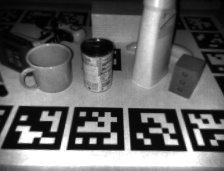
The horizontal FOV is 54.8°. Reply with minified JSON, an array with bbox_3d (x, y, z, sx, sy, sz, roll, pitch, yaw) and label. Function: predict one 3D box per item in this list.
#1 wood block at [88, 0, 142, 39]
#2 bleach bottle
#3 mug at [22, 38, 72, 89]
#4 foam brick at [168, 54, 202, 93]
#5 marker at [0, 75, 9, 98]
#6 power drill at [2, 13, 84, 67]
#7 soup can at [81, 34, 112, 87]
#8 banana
[{"bbox_3d":[0.035,-0.203,0.651,0.207,0.091,0.089,-1,46,-5],"label":"wood block"},{"bbox_3d":[0.091,-0.126,0.463,0.067,0.252,0.103,20,47,18],"label":"bleach bottle"},{"bbox_3d":[-0.143,-0.040,0.478,0.092,0.082,0.118,34,55,24],"label":"mug"},{"bbox_3d":[0.169,-0.032,0.499,0.052,0.078,0.051,23,46,22],"label":"foam brick"},{"bbox_3d":[-0.259,-0.013,0.492,0.020,0.020,0.119,-25,53,-22],"label":"marker"},{"bbox_3d":[-0.197,-0.130,0.590,0.183,0.057,0.188,23,47,14],"label":"power drill"},{"bbox_3d":[-0.035,-0.055,0.479,0.068,0.102,0.067,3,41,-2],"label":"soup can"},{"bbox_3d":[0.119,-0.126,0.611,0.197,0.039,0.074,12,59,5],"label":"banana"}]
